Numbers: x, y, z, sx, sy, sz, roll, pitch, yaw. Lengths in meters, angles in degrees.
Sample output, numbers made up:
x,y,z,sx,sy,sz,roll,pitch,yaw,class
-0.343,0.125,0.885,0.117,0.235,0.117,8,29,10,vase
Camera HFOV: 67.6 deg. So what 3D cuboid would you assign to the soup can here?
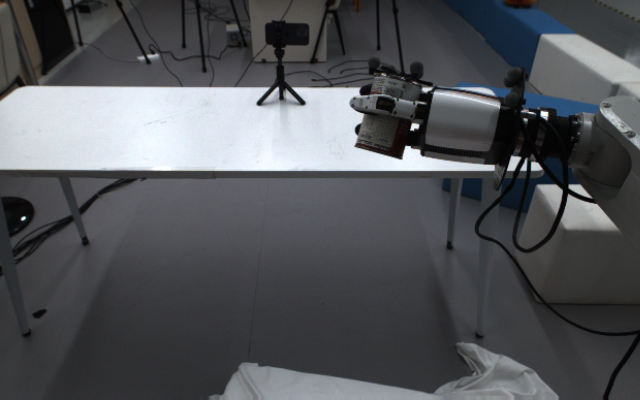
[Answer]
x,y,z,sx,sy,sz,roll,pitch,yaw,class
0.094,-0.113,0.659,0.067,0.101,0.067,15,7,-2,soup can
